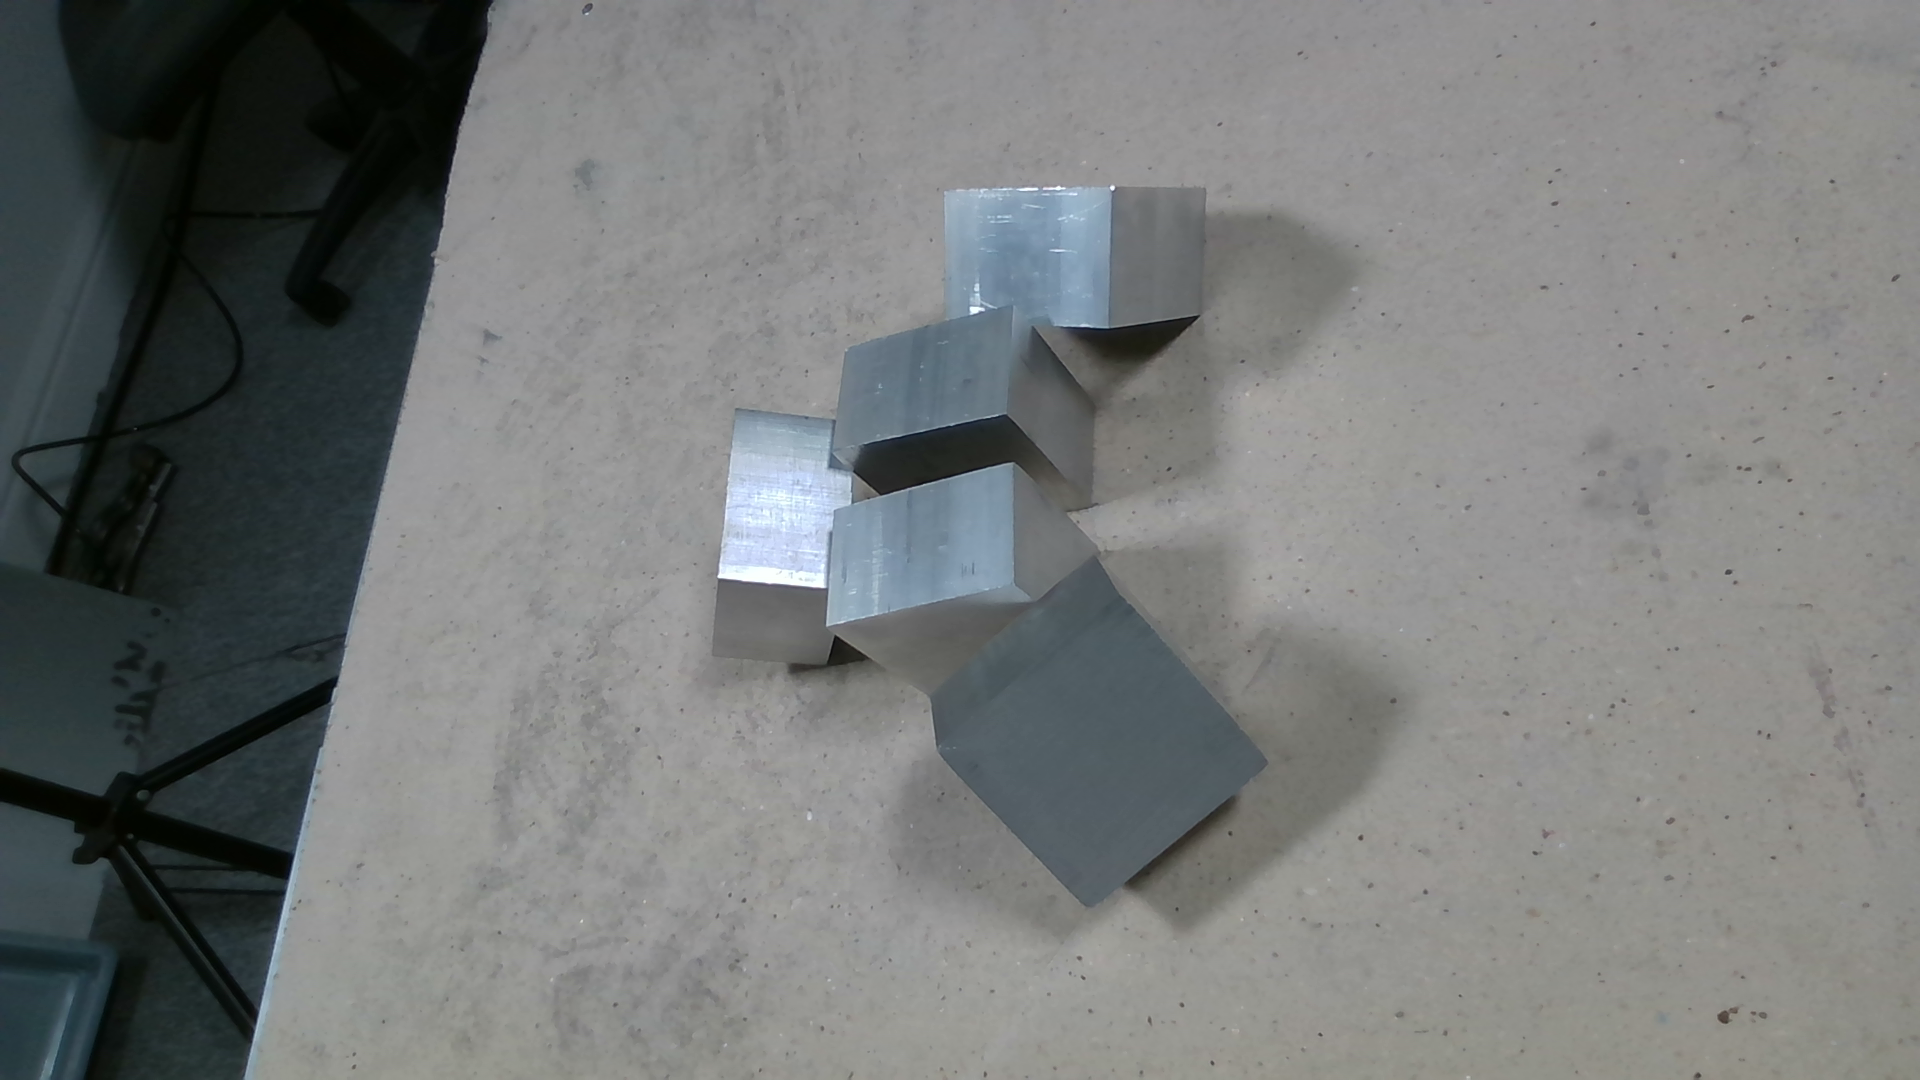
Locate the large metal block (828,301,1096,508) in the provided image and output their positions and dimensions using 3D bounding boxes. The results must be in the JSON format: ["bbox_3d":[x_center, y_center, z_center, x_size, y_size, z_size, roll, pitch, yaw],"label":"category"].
[{"bbox_3d":[0.003,-0.048,0.574,0.080,0.080,0.050,-10,61,27],"label":"large metal block"}]

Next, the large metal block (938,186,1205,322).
[{"bbox_3d":[0.047,-0.120,0.574,0.080,0.080,0.050,9,106,35],"label":"large metal block"}]

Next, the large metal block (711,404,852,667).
[{"bbox_3d":[-0.076,0.000,0.589,0.050,0.080,0.080,6,62,-9],"label":"large metal block"}]

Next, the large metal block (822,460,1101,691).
[{"bbox_3d":[0.003,0.018,0.539,0.080,0.080,0.050,-14,59,25],"label":"large metal block"}]

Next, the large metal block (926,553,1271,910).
[{"bbox_3d":[0.046,0.065,0.479,0.080,0.080,0.050,-40,14,6],"label":"large metal block"}]
